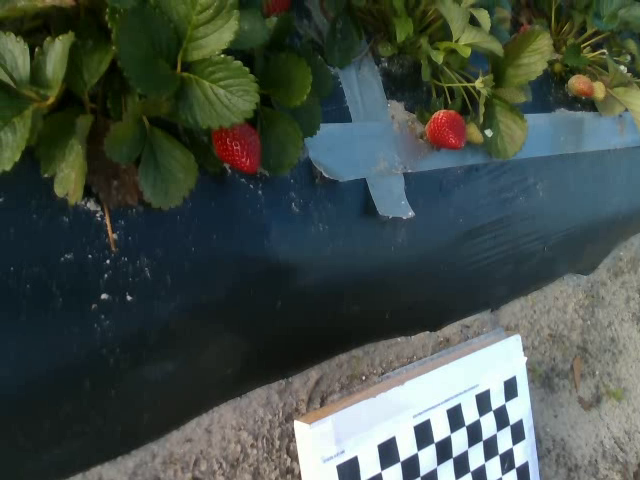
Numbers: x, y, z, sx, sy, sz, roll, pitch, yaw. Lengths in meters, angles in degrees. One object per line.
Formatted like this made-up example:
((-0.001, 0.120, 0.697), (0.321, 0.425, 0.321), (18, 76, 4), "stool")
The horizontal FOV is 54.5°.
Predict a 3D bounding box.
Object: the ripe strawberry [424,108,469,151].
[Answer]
((0.062, -0.050, 0.285), (0.023, 0.026, 0.021), (-2, -43, -14), "ripe strawberry")

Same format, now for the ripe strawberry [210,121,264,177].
((-0.028, -0.031, 0.209), (0.018, 0.022, 0.020), (-20, -21, -20), "ripe strawberry")
